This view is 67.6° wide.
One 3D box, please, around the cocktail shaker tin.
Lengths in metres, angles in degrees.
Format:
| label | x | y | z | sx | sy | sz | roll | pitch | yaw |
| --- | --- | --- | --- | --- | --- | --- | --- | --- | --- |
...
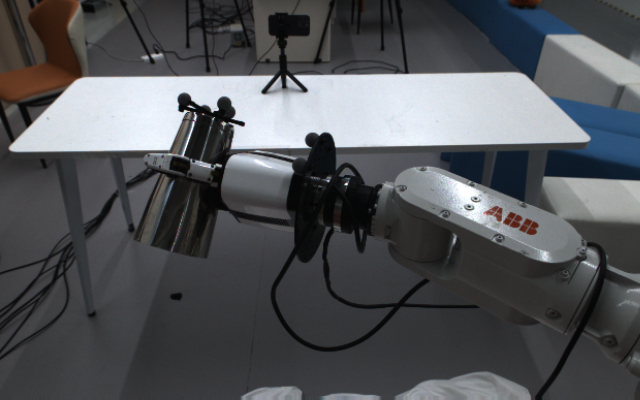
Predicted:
| label | x | y | z | sx | sy | sz | roll | pitch | yaw |
| --- | --- | --- | --- | --- | --- | --- | --- | --- | --- |
| cocktail shaker tin | -0.165 | -0.020 | 0.615 | 0.093 | 0.170 | 0.093 | 15 | -6 | 2 |
